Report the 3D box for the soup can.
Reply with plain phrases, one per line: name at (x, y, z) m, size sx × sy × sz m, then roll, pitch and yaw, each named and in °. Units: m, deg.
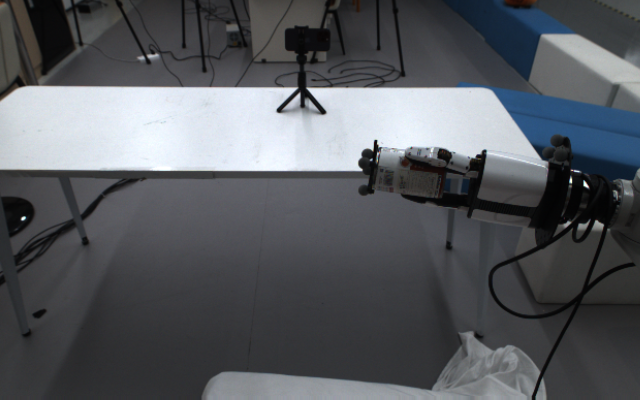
soup can at (0.136, -0.041, 0.722) m, size 0.101 × 0.067 × 0.067 m, roll 8°, pitch 35°, yaw 9°
